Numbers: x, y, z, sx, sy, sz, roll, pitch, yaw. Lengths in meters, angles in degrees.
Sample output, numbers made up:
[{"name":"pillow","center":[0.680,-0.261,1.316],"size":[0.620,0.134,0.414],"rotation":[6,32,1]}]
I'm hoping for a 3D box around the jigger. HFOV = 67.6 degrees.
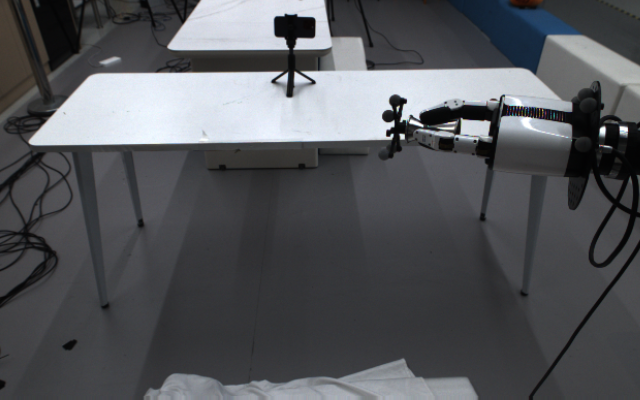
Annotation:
[{"name":"jigger","center":[0.161,-0.097,0.665],"size":[0.071,0.043,0.043],"rotation":[10,35,22]}]
